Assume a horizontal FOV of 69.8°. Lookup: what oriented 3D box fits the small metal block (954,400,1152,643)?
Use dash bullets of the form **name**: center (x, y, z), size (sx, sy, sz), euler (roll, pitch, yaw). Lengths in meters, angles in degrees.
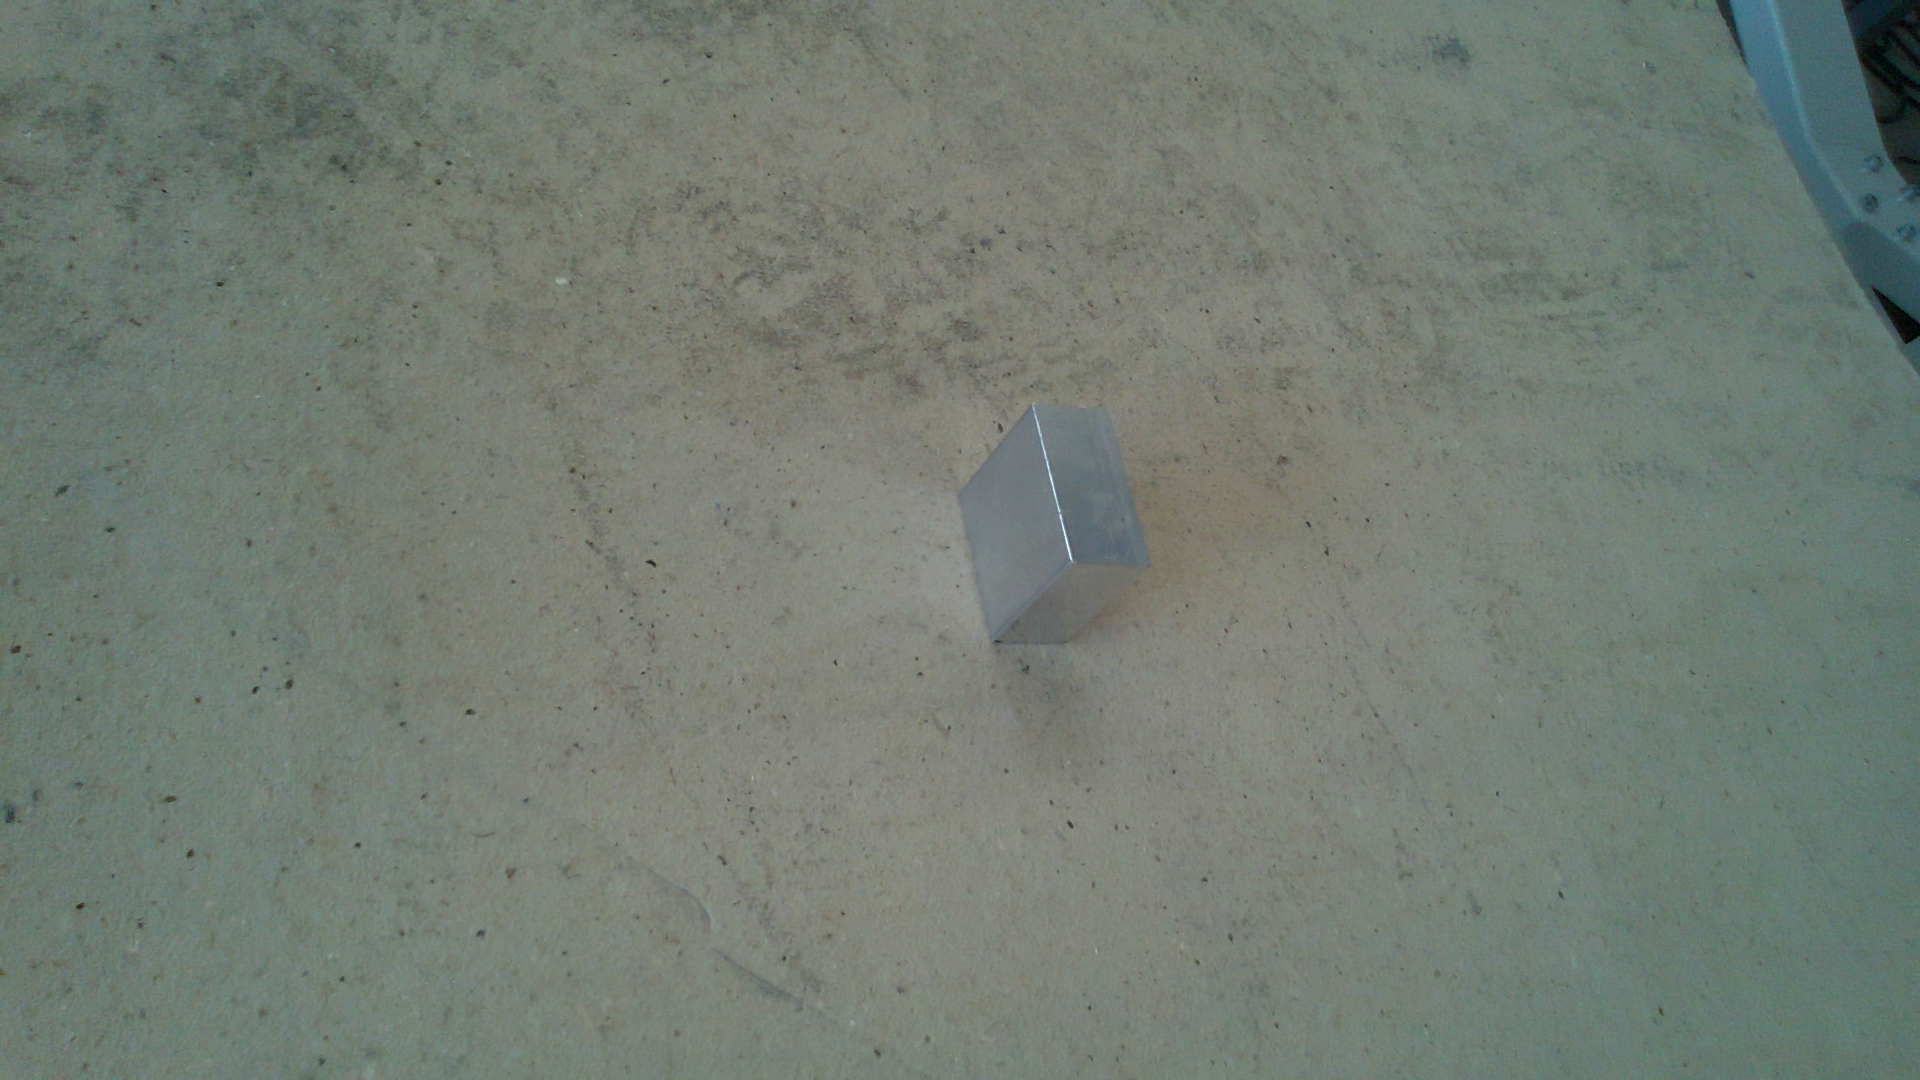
- **small metal block**: center (0.025, -0.004, 0.389), size (0.025, 0.050, 0.050), euler (3, 61, -28)
